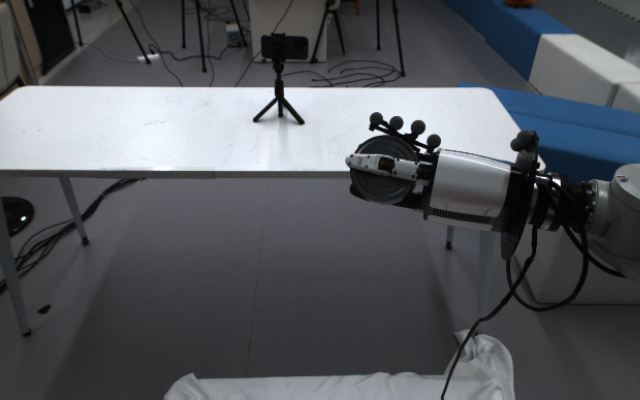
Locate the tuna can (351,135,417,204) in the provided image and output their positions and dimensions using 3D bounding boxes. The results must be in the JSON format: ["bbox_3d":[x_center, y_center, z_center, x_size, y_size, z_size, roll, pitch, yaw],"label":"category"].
[{"bbox_3d":[0.085,-0.039,0.618,0.085,0.085,0.034,13,-5,16],"label":"tuna can"}]
